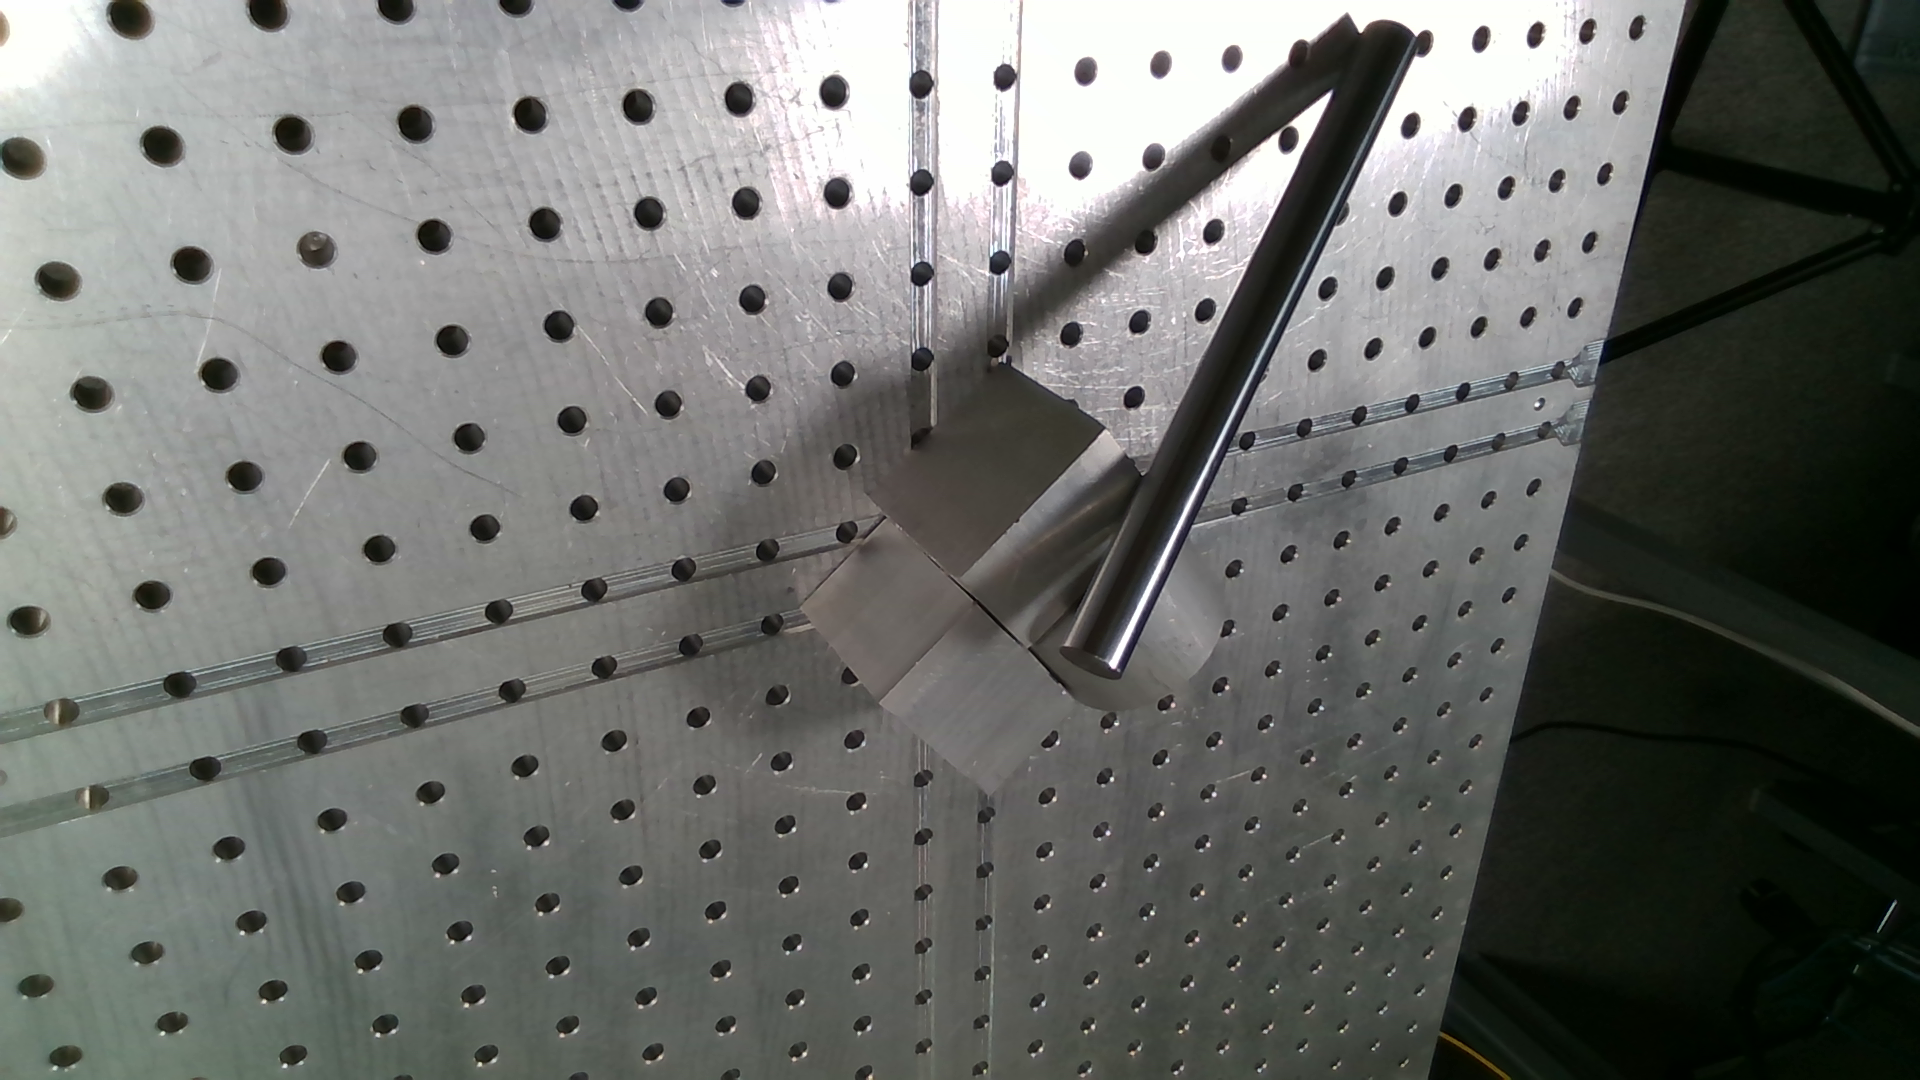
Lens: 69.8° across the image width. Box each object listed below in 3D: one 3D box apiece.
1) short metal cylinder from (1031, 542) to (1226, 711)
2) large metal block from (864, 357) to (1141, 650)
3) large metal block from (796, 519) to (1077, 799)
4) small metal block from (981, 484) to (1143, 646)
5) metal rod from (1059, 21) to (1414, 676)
[{"bbox_3d":[0.062,0.023,0.566,0.080,0.080,0.050,-45,129,-3],"label":"short metal cylinder"},{"bbox_3d":[0.021,-0.016,0.553,0.080,0.080,0.050,-46,129,-2],"label":"large metal block"},{"bbox_3d":[-0.010,0.048,0.566,0.050,0.080,0.080,-46,129,-3],"label":"large metal block"},{"bbox_3d":[0.046,0.012,0.619,0.050,0.025,0.050,-49,129,0],"label":"small metal block"},{"bbox_3d":[0.114,-0.083,0.541,0.025,0.025,0.299,42,69,-39],"label":"metal rod"}]
